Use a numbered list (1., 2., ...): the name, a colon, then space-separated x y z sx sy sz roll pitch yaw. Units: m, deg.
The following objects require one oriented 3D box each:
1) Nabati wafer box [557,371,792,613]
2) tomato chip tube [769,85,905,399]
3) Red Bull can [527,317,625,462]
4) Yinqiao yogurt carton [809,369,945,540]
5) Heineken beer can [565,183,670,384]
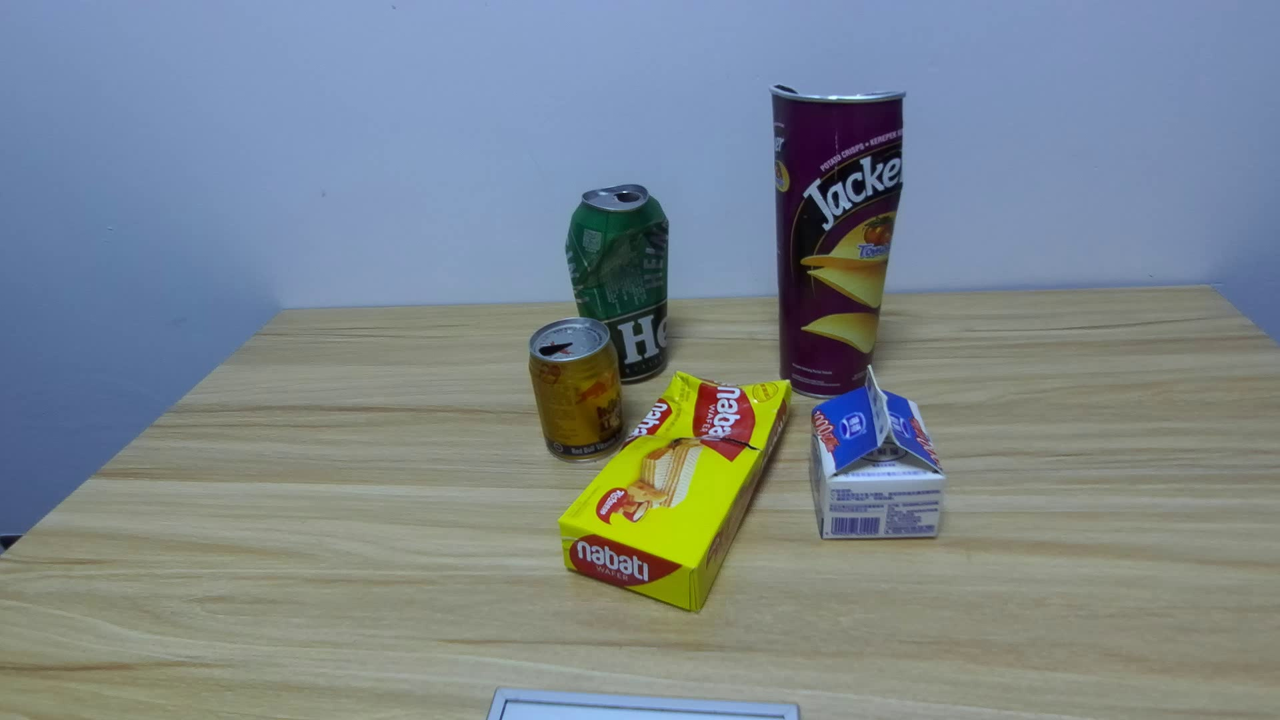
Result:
1. Nabati wafer box: 0.031 0.071 0.494 0.106 0.042 0.204 11 35 23
2. tomato chip tube: 0.146 -0.086 0.539 0.076 0.235 0.077 -10 31 -5
3. Red Bull can: -0.047 0.022 0.537 0.067 0.093 0.067 -4 32 3
4. Yinqiao yogurt carton: 0.149 0.056 0.447 0.073 0.092 0.075 -2 31 8
5. Heineken beer can: -0.017 -0.060 0.593 0.077 0.164 0.066 4 34 10
